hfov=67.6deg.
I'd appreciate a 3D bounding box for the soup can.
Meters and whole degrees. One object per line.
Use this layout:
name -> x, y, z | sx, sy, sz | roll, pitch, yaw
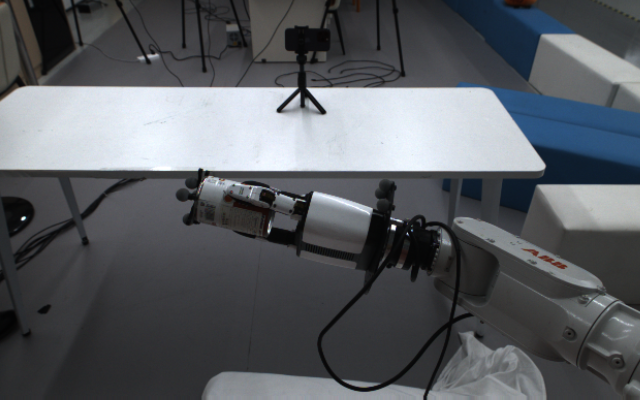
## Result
soup can -> -0.112, 0.010, 0.667 | 0.101, 0.067, 0.067 | 13, 35, -1
